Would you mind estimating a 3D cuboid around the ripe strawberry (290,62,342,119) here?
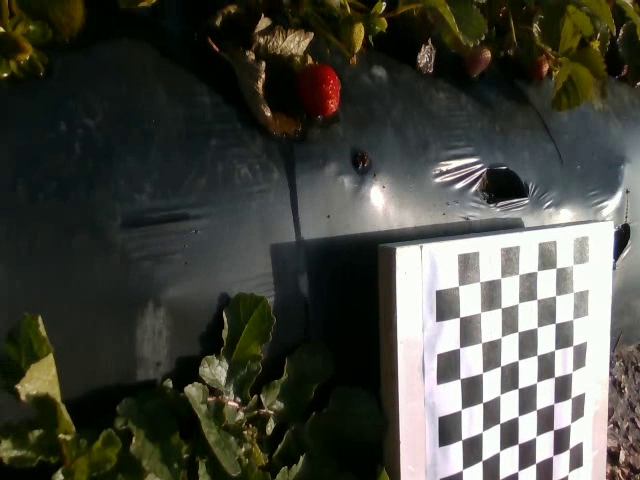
[{"bbox_3d":[0.003,-0.089,0.421,0.046,0.054,0.038,21,-55,-37],"label":"ripe strawberry"}]
